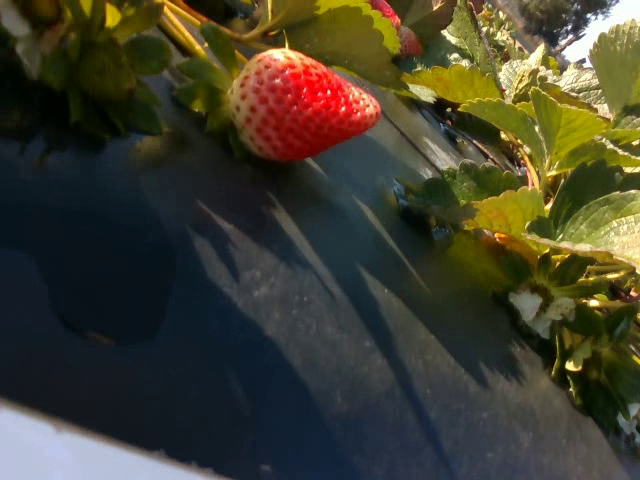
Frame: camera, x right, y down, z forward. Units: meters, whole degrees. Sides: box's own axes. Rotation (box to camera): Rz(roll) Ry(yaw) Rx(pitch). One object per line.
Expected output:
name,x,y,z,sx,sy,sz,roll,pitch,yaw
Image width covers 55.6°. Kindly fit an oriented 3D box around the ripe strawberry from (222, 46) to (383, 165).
ripe strawberry,-0.003,-0.032,0.155,0.045,0.037,0.042,0,-11,25
